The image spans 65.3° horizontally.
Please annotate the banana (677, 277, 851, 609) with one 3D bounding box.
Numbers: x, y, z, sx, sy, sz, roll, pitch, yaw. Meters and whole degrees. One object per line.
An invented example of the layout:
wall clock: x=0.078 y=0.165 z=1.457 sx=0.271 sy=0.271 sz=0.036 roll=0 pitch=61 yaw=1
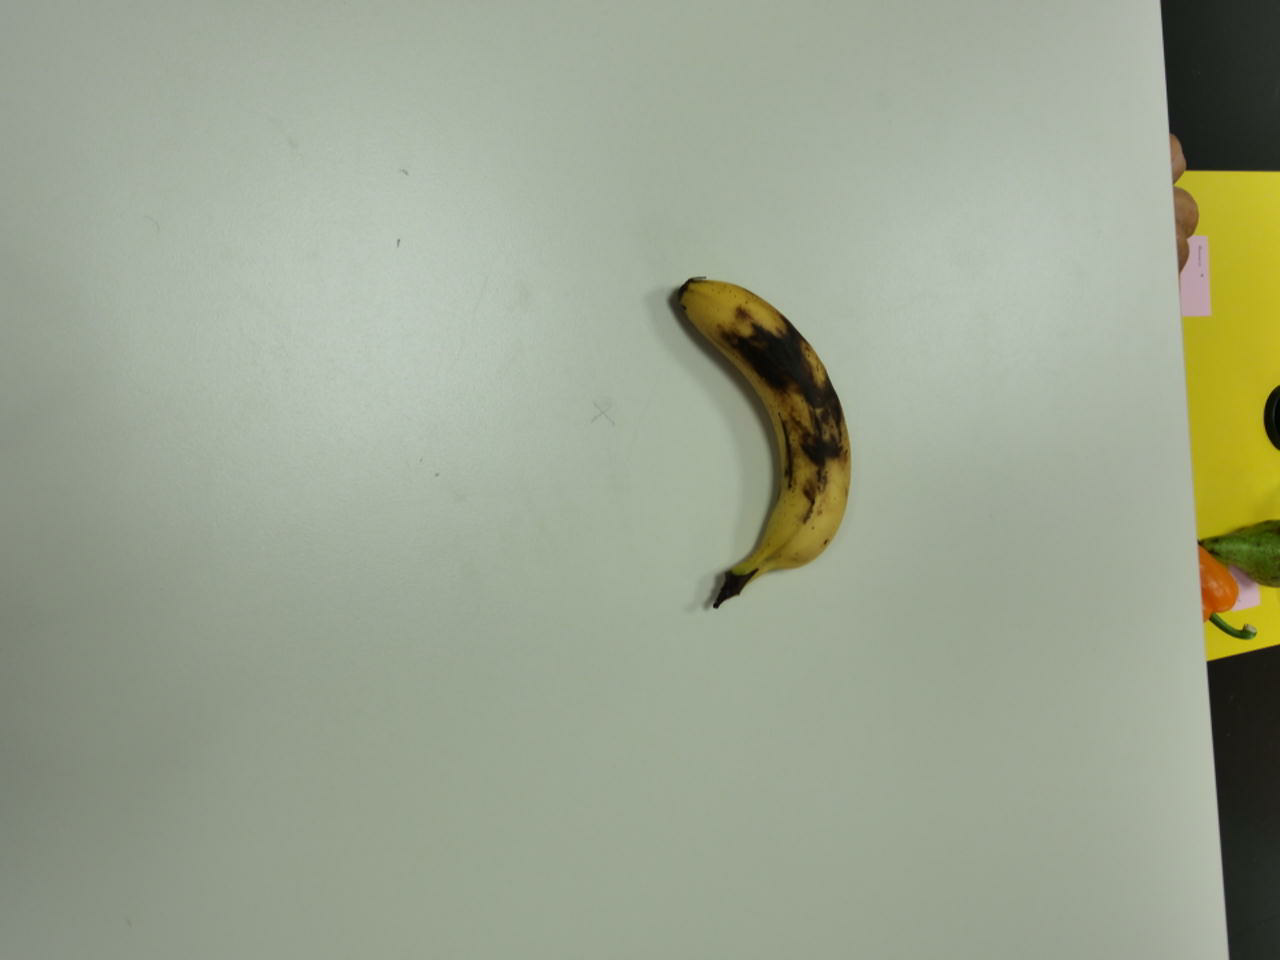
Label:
banana: x=0.076 y=-0.026 z=0.578 sx=0.094 sy=0.039 sz=0.187 roll=-7 pitch=93 yaw=-21
